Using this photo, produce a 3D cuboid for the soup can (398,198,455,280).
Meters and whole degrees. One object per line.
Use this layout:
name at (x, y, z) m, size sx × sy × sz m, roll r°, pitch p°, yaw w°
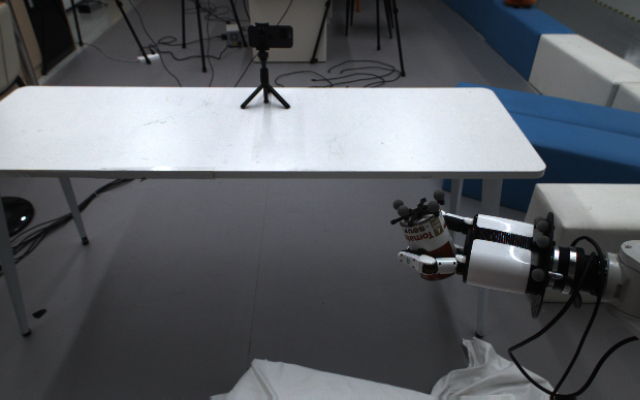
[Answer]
soup can at (0.174, 0.065, 0.759) m, size 0.067 × 0.101 × 0.067 m, roll -23°, pitch 16°, yaw 7°
